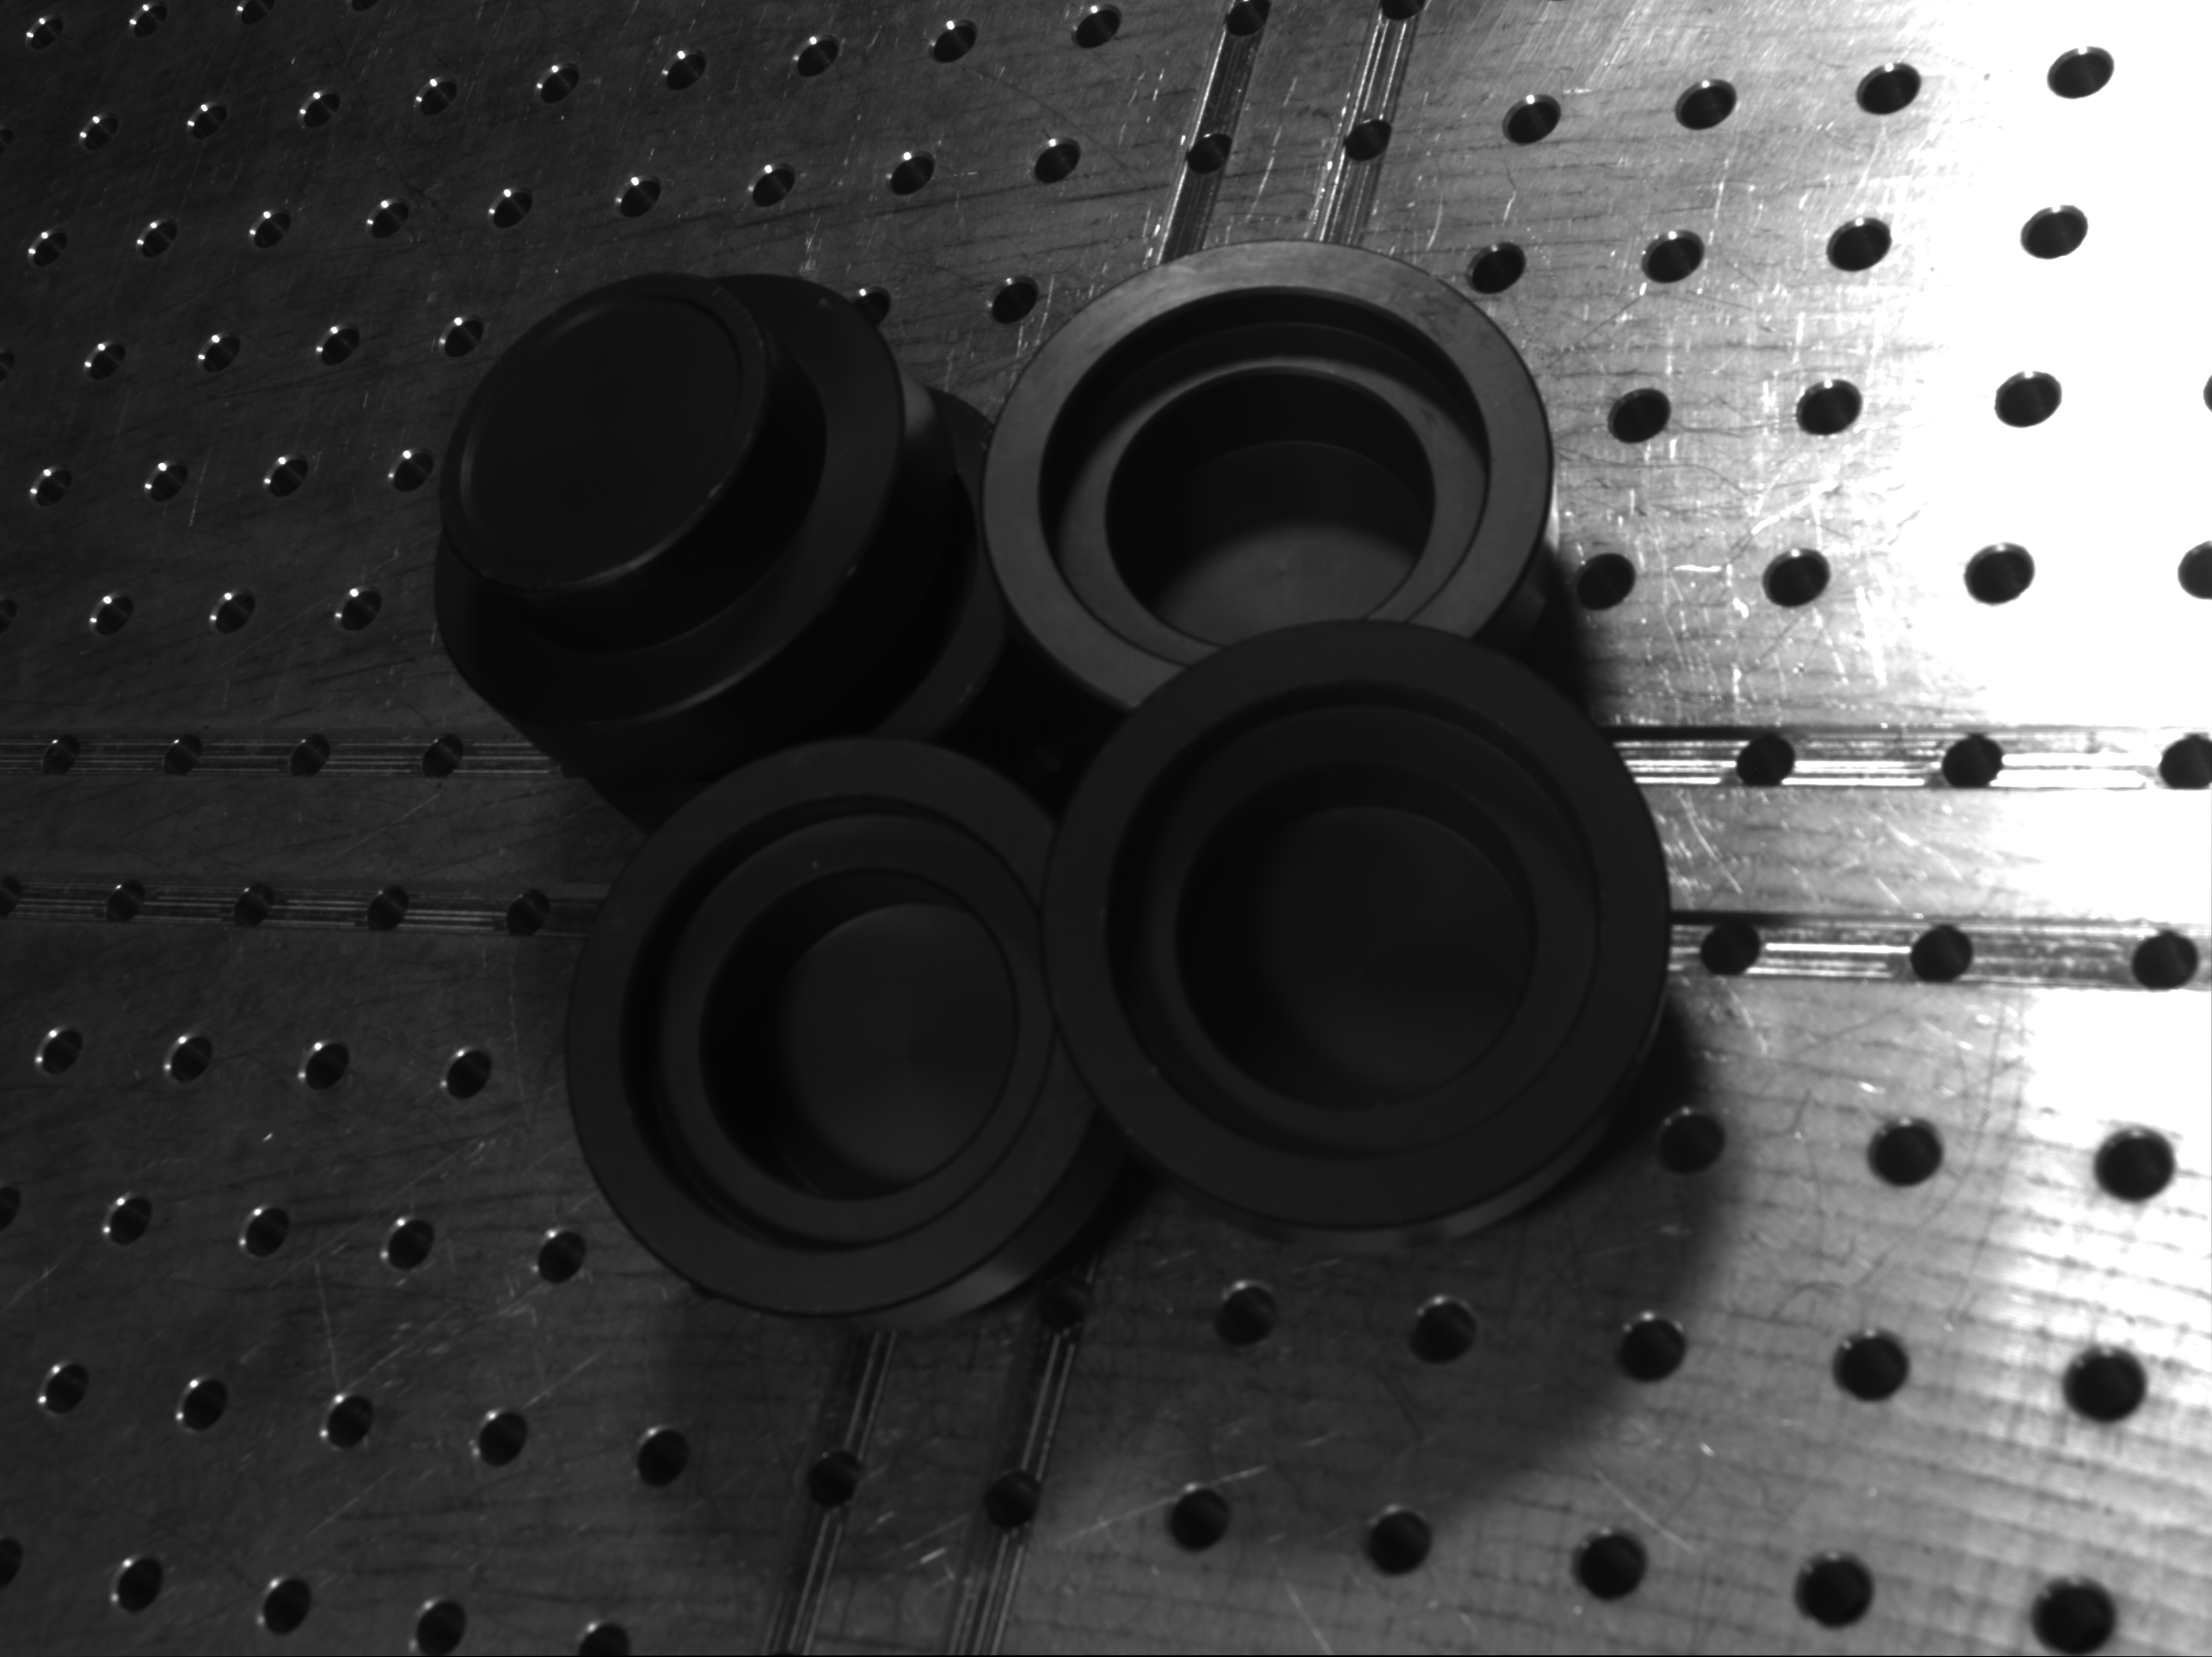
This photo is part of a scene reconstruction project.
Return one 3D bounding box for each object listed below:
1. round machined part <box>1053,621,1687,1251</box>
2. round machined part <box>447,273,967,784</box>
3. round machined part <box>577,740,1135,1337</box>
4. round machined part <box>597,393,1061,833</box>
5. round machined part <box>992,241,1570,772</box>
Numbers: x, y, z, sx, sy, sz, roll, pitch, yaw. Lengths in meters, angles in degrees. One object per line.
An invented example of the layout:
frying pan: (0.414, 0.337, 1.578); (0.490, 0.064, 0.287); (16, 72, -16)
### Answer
round machined part: (0.043, 0.020, 0.586); (0.098, 0.042, 0.098); (-2, 73, 6)
round machined part: (-0.078, -0.061, 0.661); (0.098, 0.042, 0.098); (-13, 56, 21)
round machined part: (-0.036, 0.037, 0.622); (0.098, 0.042, 0.098); (-5, 74, 17)
round machined part: (-0.047, -0.031, 0.680); (0.098, 0.042, 0.098); (-13, 56, 21)
round machined part: (0.032, -0.050, 0.639); (0.098, 0.042, 0.098); (-4, 63, 8)
